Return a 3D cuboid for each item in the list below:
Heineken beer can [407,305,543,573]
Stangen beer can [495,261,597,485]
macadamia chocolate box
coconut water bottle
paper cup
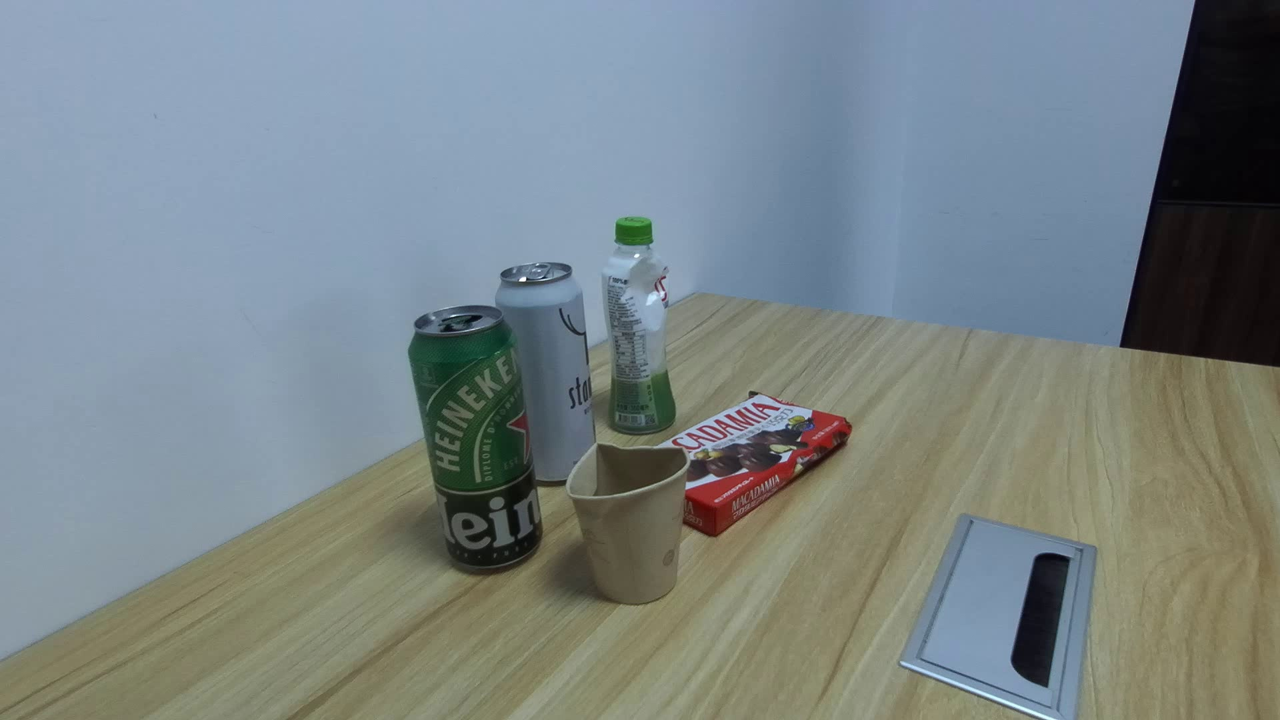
[{"bbox_3d":[-0.105,0.053,0.464,0.067,0.169,0.067,-3,22,2],"label":"Heineken beer can"},{"bbox_3d":[-0.072,0.012,0.564,0.067,0.171,0.067,-3,19,1],"label":"Stangen beer can"},{"bbox_3d":[0.082,0.075,0.570,0.105,0.028,0.184,16,28,41],"label":"macadamia chocolate box"},{"bbox_3d":[-0.002,-0.030,0.624,0.069,0.187,0.069,-1,19,1],"label":"coconut water bottle"},{"bbox_3d":[-0.004,0.102,0.435,0.071,0.084,0.066,0,22,12],"label":"paper cup"}]
